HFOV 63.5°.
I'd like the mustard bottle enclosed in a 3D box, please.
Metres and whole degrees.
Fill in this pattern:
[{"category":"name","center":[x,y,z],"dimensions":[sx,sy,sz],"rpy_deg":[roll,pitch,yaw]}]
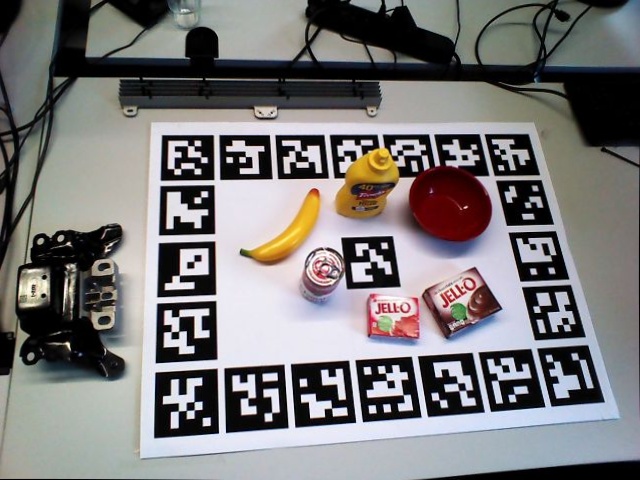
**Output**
[{"category":"mustard bottle","center":[0.105,-0.109,0.903],"dimensions":[0.096,0.192,0.058],"rpy_deg":[-1,64,-8]}]

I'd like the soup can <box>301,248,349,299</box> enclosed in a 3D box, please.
[{"category":"soup can","center":[0.006,0.053,0.873],"dimensions":[0.068,0.102,0.067],"rpy_deg":[4,65,-8]}]

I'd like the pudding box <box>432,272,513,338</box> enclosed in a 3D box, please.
[{"category":"pudding box","center":[0.272,0.110,0.927],"dimensions":[0.113,0.039,0.090],"rpy_deg":[-24,78,-16]}]

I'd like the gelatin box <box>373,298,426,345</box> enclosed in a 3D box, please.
[{"category":"gelatin box","center":[0.138,0.141,0.901],"dimensions":[0.089,0.030,0.073],"rpy_deg":[5,70,-5]}]

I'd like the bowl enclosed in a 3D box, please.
[{"category":"bowl","center":[0.264,-0.065,0.995],"dimensions":[0.162,0.055,0.161],"rpy_deg":[2,66,-5]}]

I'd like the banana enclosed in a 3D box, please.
[{"category":"banana","center":[-0.049,-0.033,0.948],"dimensions":[0.074,0.039,0.196],"rpy_deg":[34,67,18]}]
